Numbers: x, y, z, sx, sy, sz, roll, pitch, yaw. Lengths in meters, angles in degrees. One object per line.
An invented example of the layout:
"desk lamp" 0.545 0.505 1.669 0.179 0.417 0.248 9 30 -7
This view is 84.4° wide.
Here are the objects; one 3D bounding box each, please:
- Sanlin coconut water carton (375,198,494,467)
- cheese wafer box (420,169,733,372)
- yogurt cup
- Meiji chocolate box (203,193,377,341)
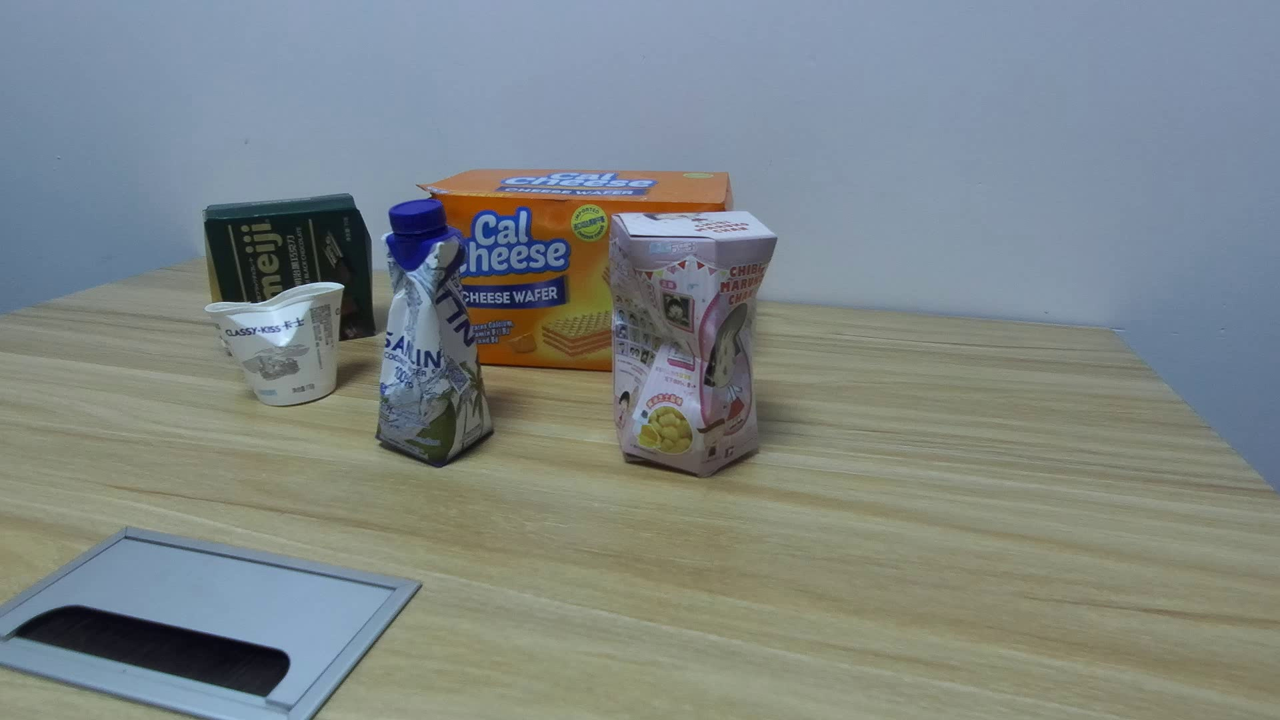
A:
"Sanlin coconut water carton" -0.113 -0.017 0.409 0.056 0.144 0.069 17 19 22
"cheese wafer box" -0.043 -0.081 0.566 0.227 0.137 0.149 3 23 6
"yogurt cup" -0.238 -0.012 0.476 0.053 0.071 0.075 10 24 20
"Meiji chocolate box" -0.282 -0.072 0.571 0.123 0.116 0.058 -14 30 -35
